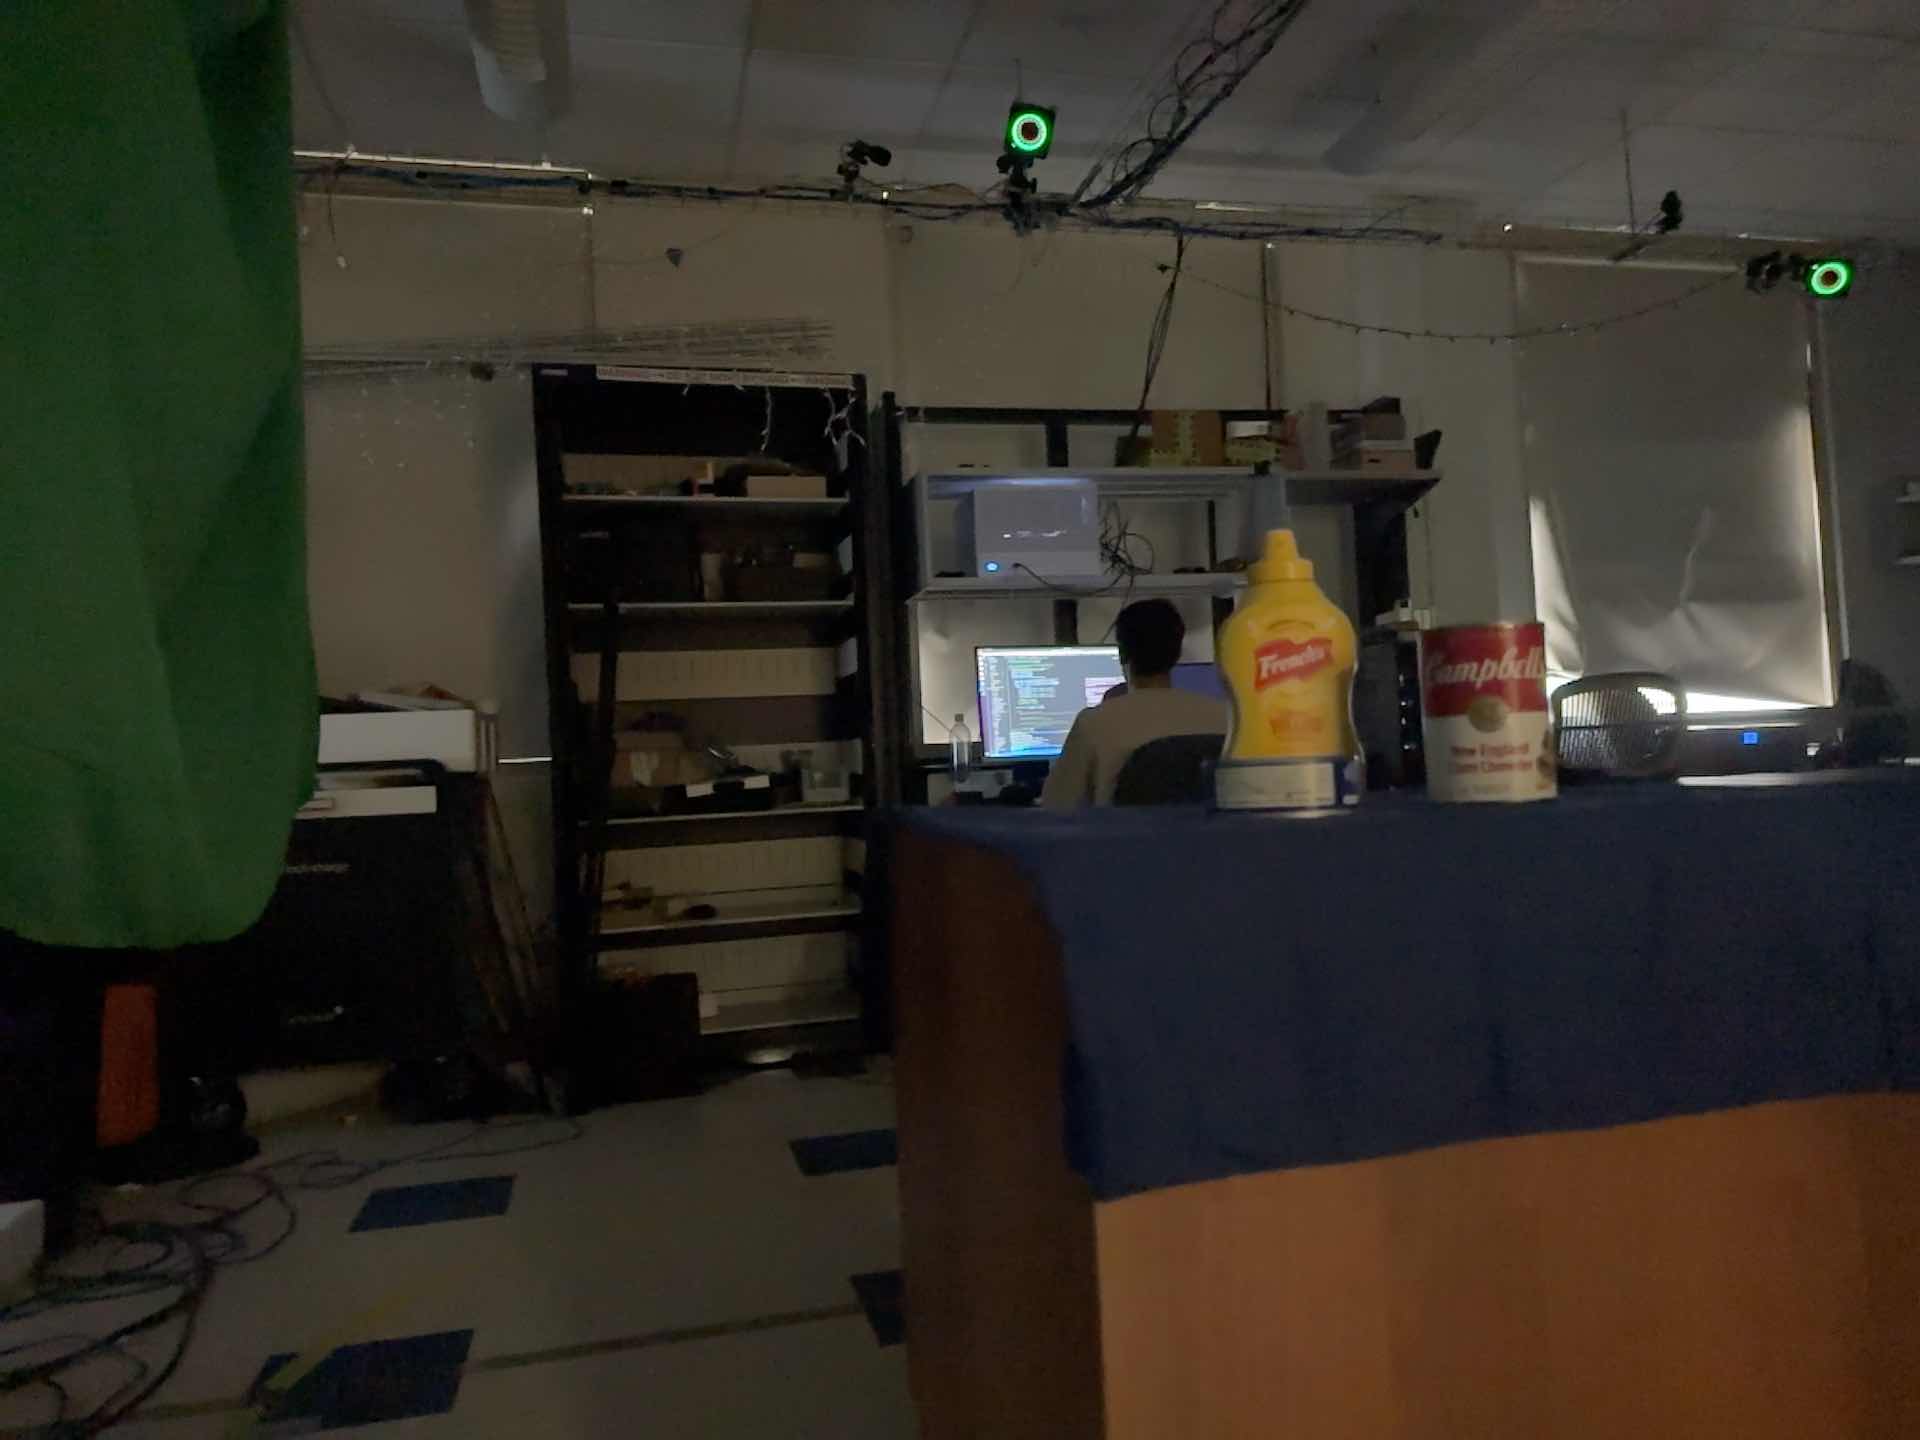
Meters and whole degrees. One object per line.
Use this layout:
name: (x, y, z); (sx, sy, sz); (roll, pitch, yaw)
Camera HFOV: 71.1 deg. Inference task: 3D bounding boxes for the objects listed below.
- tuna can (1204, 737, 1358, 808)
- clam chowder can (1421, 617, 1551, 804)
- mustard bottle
tuna can: (0.180, 0.028, 0.756); (0.083, 0.034, 0.083); (-2, 1, 0)
clam chowder can: (0.298, -0.006, 0.764); (0.068, 0.102, 0.068); (-2, 1, 0)
mustard bottle: (0.209, -0.028, 0.846); (0.092, 0.184, 0.054); (-2, 2, 2)
